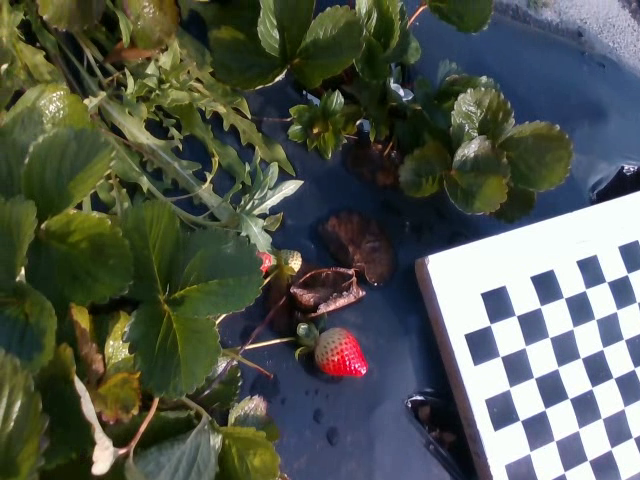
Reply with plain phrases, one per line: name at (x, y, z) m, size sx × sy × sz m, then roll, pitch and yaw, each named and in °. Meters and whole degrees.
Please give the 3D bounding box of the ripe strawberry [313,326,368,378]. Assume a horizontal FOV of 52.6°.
ripe strawberry at (0.014, 0.078, 0.426) m, size 0.043 × 0.035 × 0.029 m, roll 38°, pitch -22°, yaw -8°
